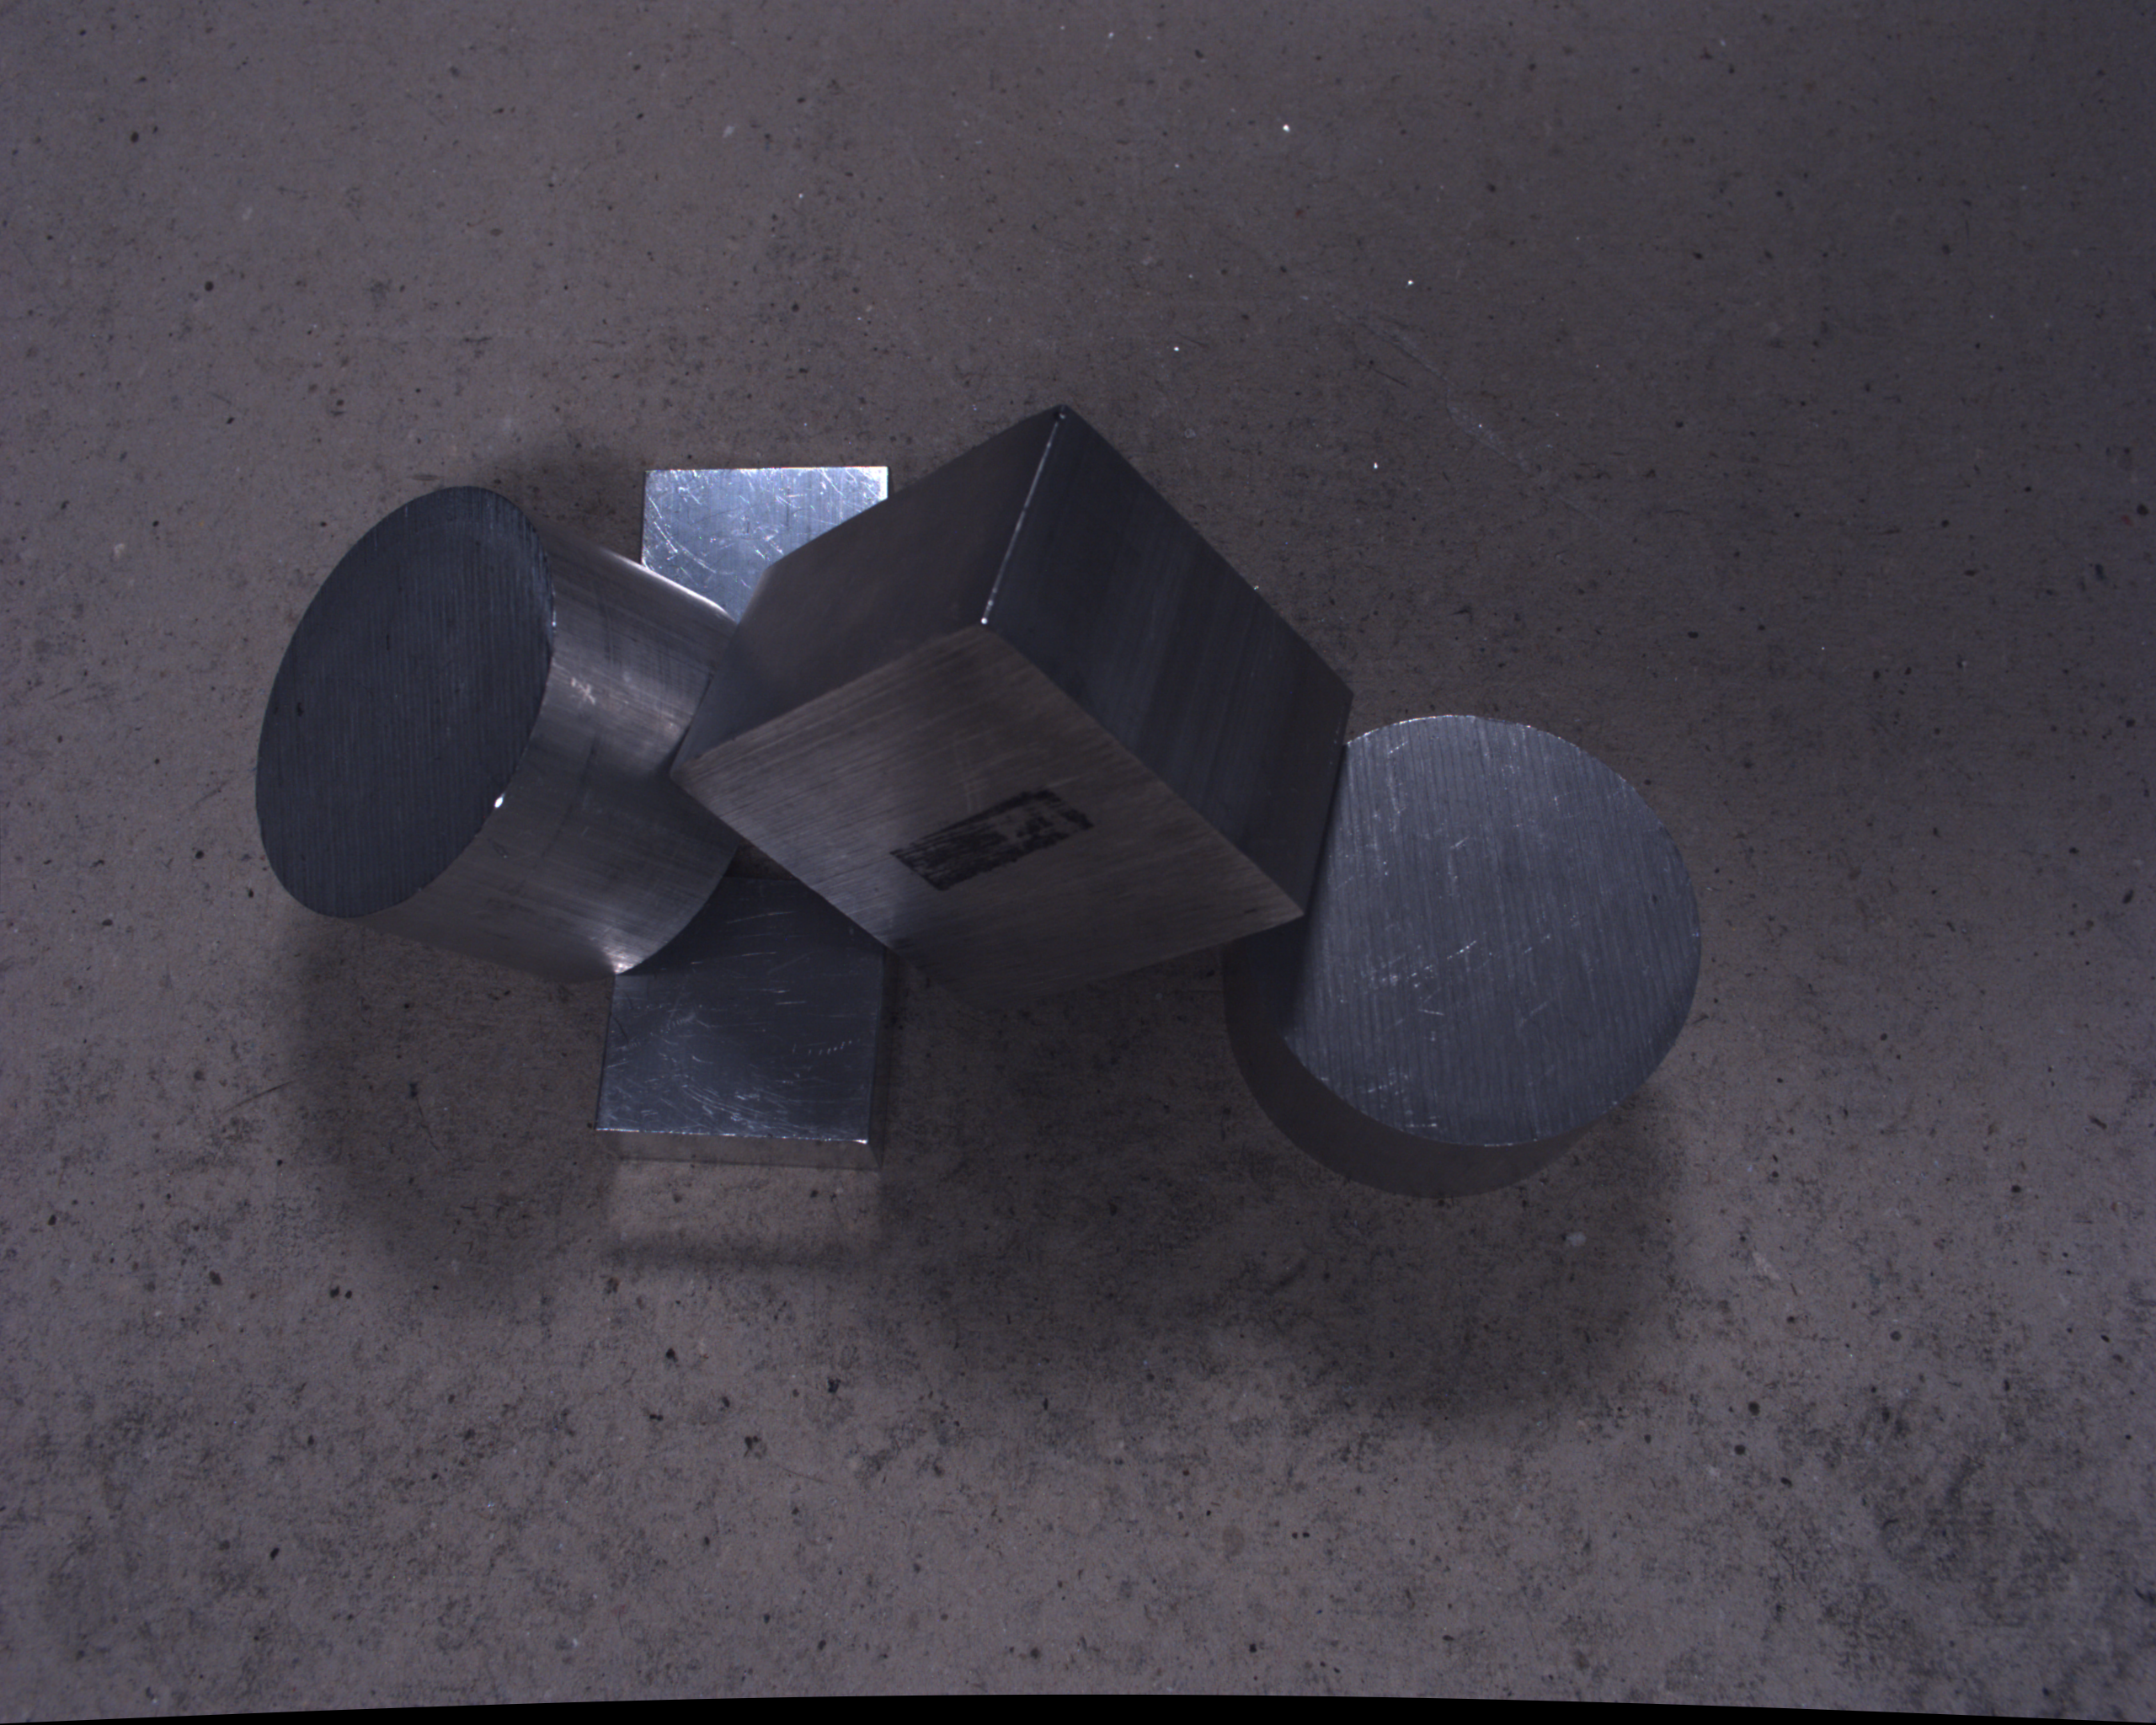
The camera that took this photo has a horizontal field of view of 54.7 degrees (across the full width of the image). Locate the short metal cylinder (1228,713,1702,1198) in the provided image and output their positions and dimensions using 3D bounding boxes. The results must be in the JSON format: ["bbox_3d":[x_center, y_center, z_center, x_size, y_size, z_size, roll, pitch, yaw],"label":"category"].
[{"bbox_3d":[0.069,0.019,0.390,0.081,0.050,0.080,0,70,0],"label":"short metal cylinder"}]

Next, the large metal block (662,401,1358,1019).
[{"bbox_3d":[-0.011,-0.022,0.368,0.080,0.080,0.050,41,48,-30],"label":"large metal block"}]

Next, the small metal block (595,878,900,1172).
[{"bbox_3d":[-0.061,0.031,0.397,0.050,0.025,0.050,3,70,0],"label":"small metal block"}]

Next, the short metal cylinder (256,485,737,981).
[{"bbox_3d":[-0.104,-0.022,0.384,0.080,0.050,0.080,-13,67,33],"label":"short metal cylinder"}]

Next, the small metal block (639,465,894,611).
[{"bbox_3d":[-0.063,-0.053,0.428,0.050,0.025,0.050,-1,70,-1],"label":"small metal block"}]
